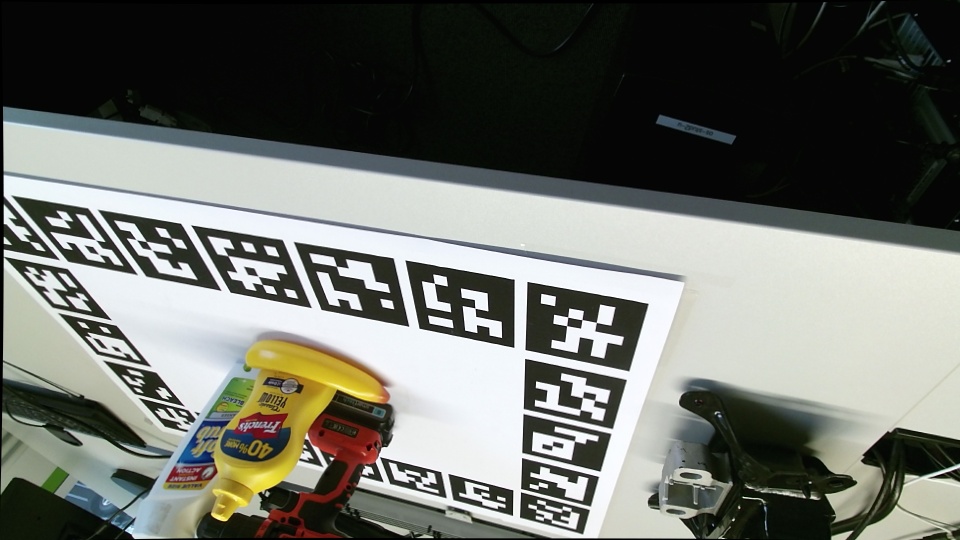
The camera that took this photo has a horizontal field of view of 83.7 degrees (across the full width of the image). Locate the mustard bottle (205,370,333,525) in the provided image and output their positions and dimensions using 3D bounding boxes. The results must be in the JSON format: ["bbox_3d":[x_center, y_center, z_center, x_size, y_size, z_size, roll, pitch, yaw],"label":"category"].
[{"bbox_3d":[-0.257,0.199,0.623,0.096,0.191,0.058,10,134,13],"label":"mustard bottle"}]

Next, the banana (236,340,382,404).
[{"bbox_3d":[-0.216,0.125,0.659,0.198,0.038,0.074,11,133,7],"label":"banana"}]

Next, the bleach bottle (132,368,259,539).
[{"bbox_3d":[-0.330,0.247,0.661,0.103,0.250,0.068,11,140,10],"label":"bleach bottle"}]

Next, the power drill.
[{"bbox_3d":[-0.221,0.271,0.649,0.185,0.186,0.057,19,136,5],"label":"power drill"}]
